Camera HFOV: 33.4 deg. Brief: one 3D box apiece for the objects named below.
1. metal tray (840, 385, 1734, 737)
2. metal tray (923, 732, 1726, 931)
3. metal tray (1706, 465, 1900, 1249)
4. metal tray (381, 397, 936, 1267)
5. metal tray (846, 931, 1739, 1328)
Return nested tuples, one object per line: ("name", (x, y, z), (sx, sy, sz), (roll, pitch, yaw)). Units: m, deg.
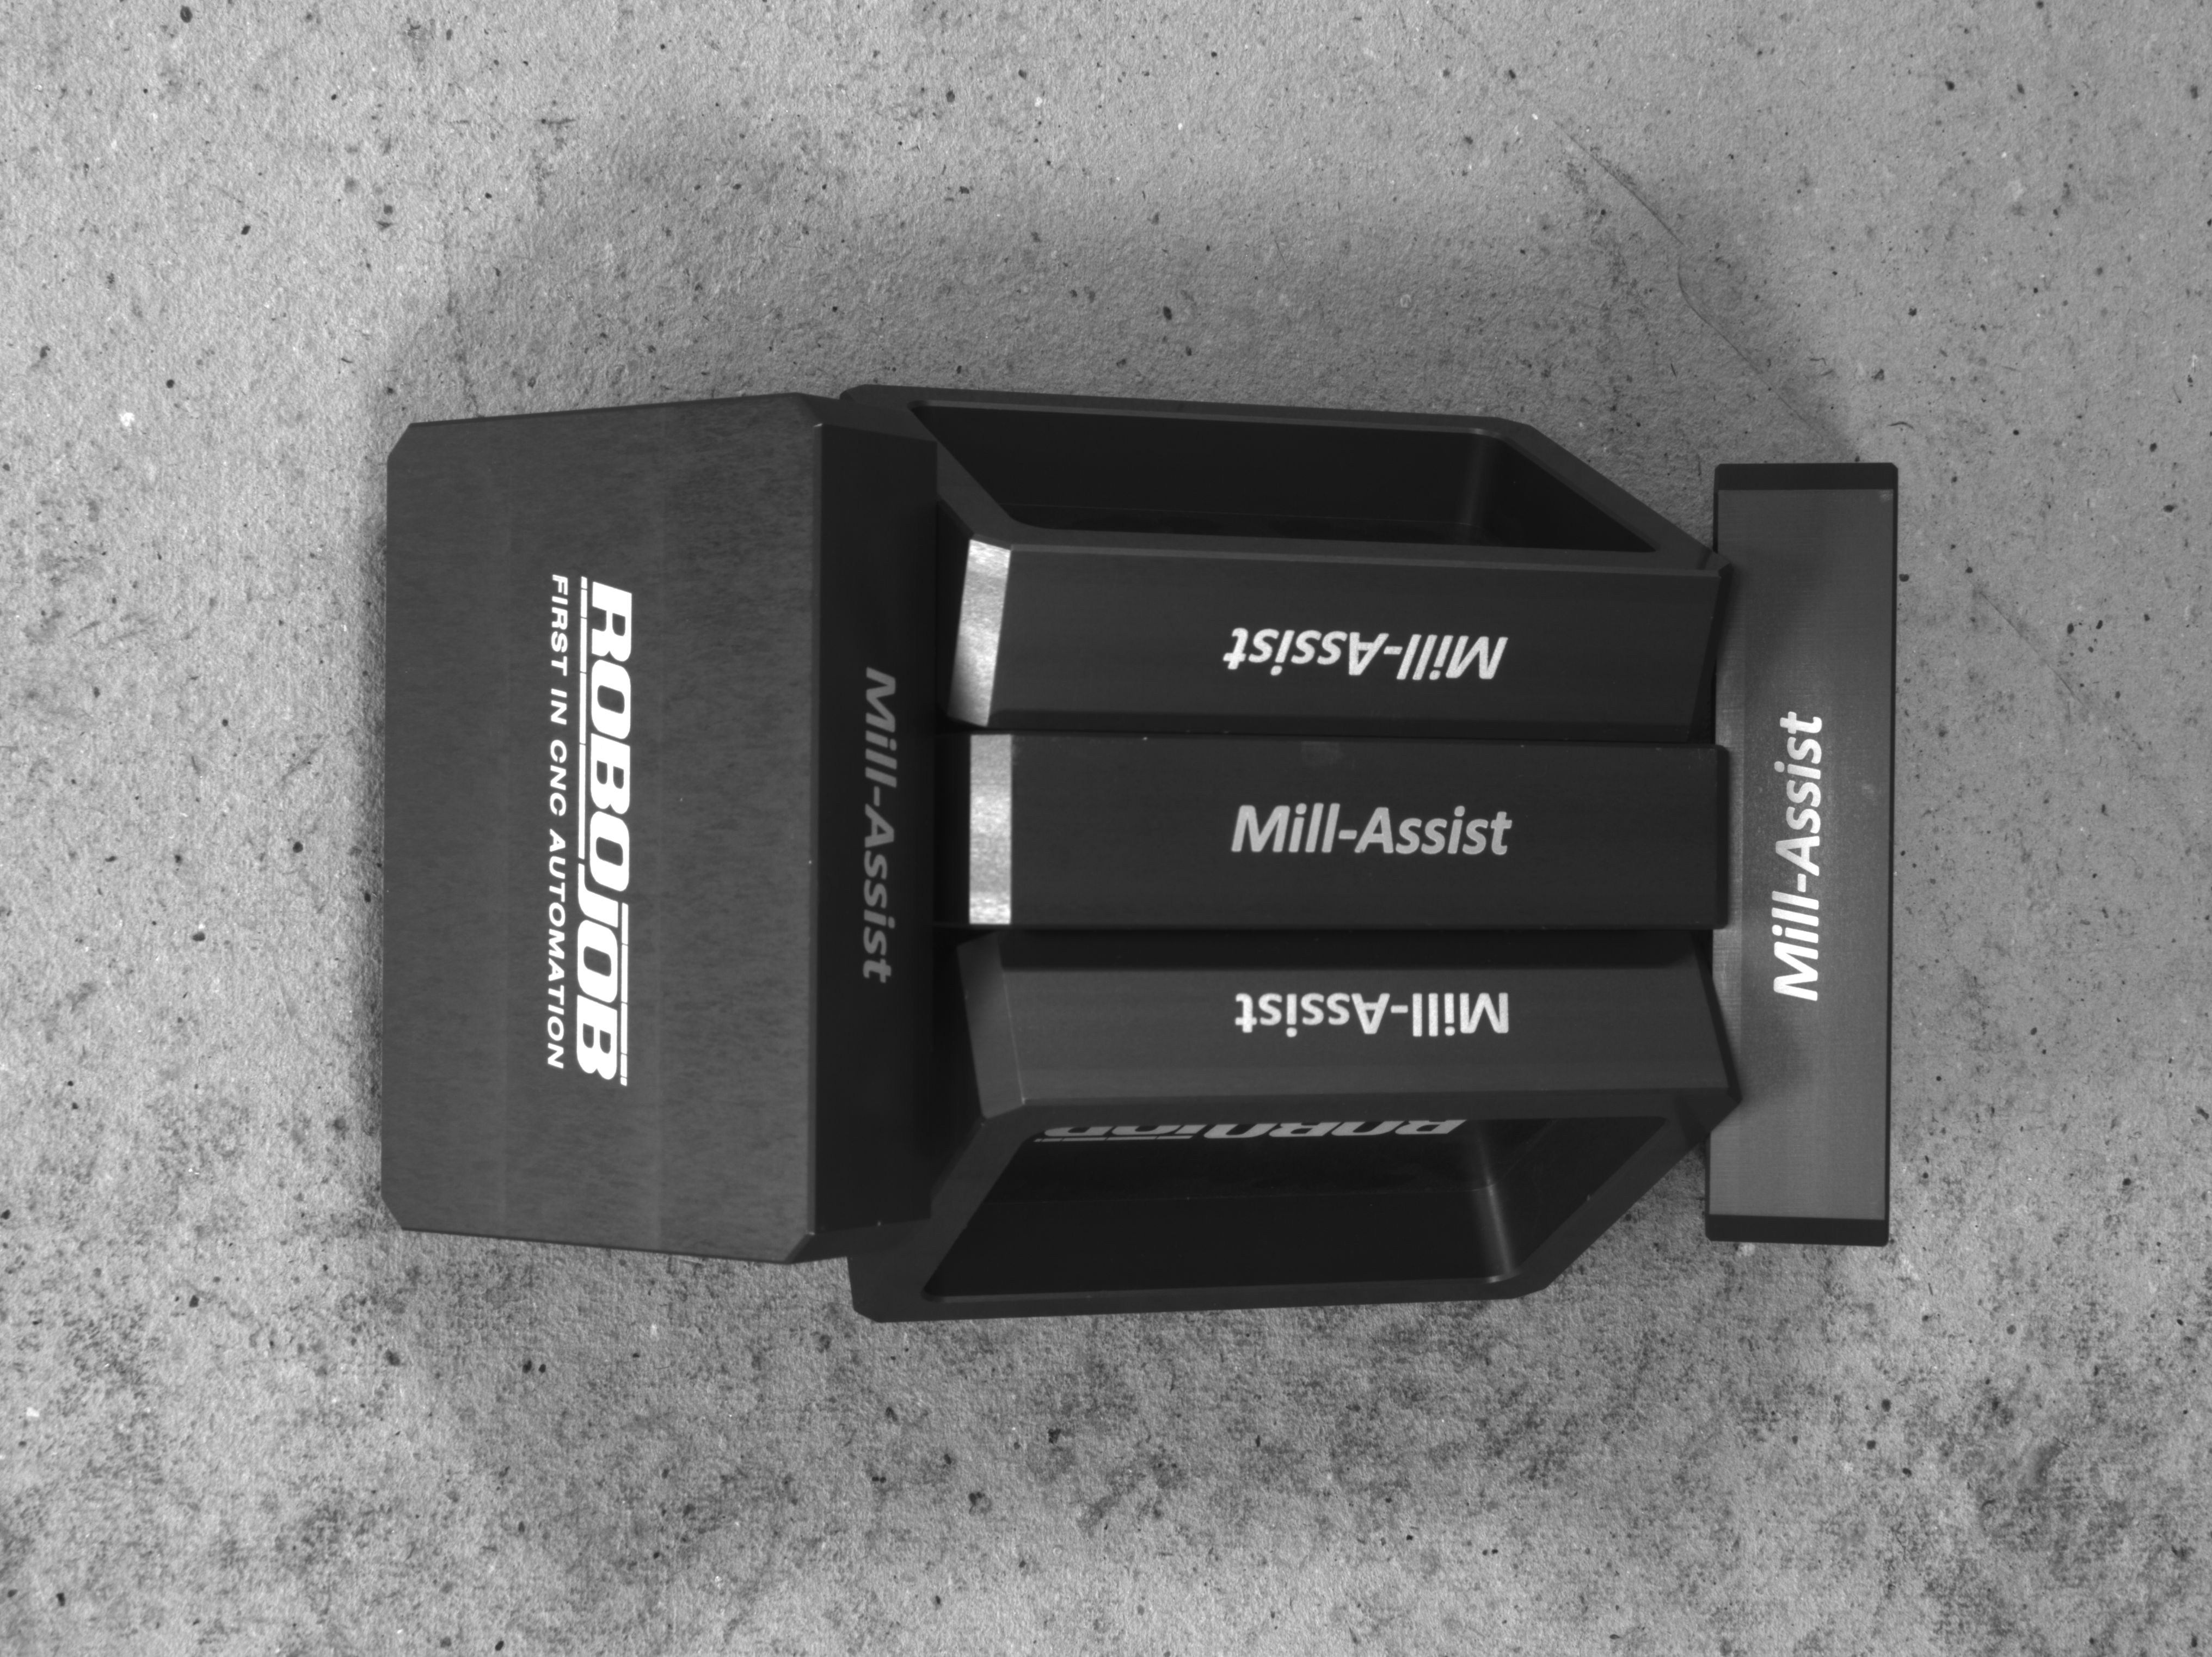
("metal tray", (0.027, -0.045, 0.616), (0.130, 0.090, 0.030), (1, 112, -20))
("metal tray", (0.027, 0.001, 0.618), (0.130, 0.090, 0.030), (0, 90, -20))
("metal tray", (0.124, 0.005, 0.653), (0.030, 0.090, 0.130), (1, 90, 12))
("metal tray", (-0.072, 0.000, 0.584), (0.030, 0.090, 0.130), (1, 90, -56))
("metal tray", (0.028, 0.051, 0.618), (0.130, 0.090, 0.030), (1, 60, -20))
